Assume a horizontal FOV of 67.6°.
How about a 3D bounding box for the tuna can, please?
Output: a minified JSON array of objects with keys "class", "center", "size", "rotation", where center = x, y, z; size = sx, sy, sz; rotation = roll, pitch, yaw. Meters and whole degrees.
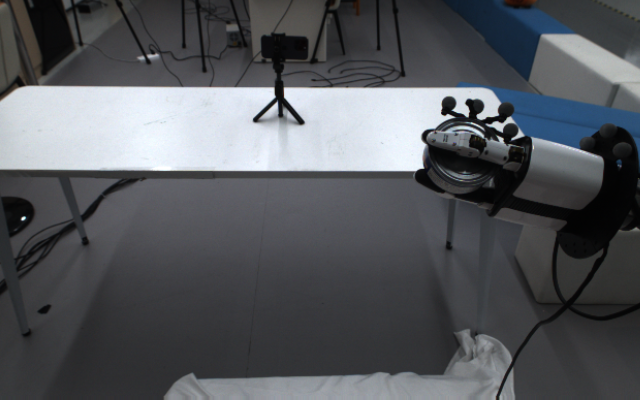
[{"class":"tuna can","center":[0.167,-0.054,0.572],"size":[0.085,0.034,0.085],"rotation":[0,71,0]}]
